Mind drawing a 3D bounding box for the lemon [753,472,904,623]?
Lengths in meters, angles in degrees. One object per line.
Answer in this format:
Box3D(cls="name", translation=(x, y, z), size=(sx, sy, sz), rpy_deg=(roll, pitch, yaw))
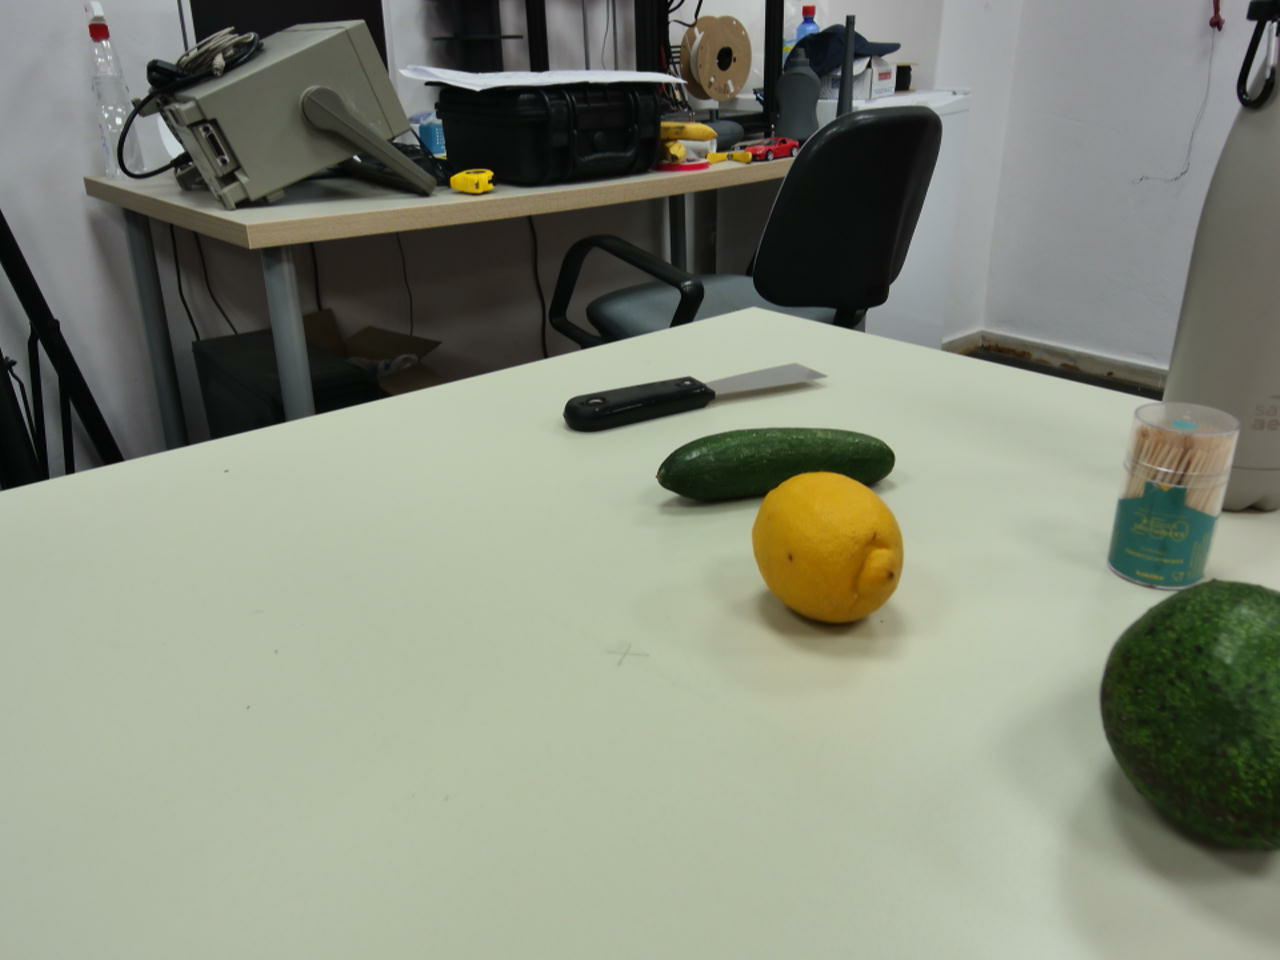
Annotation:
Box3D(cls="lemon", translation=(0.078, 0.028, 0.420), size=(0.061, 0.059, 0.067), rpy_deg=(1, 21, 3))
